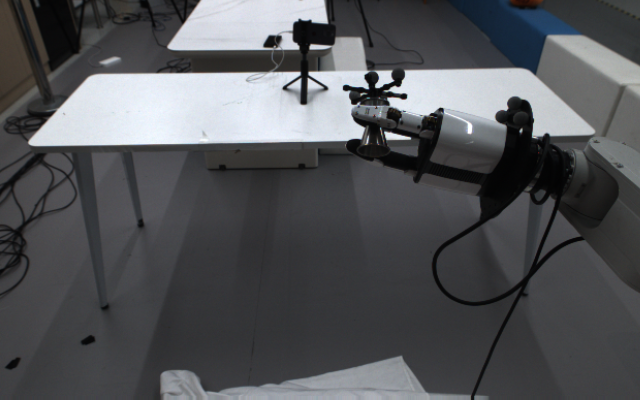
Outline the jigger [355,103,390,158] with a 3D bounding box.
[{"bbox_3d":[0.070,-0.097,0.641,0.043,0.043,0.071,3,75,1],"label":"jigger"}]
